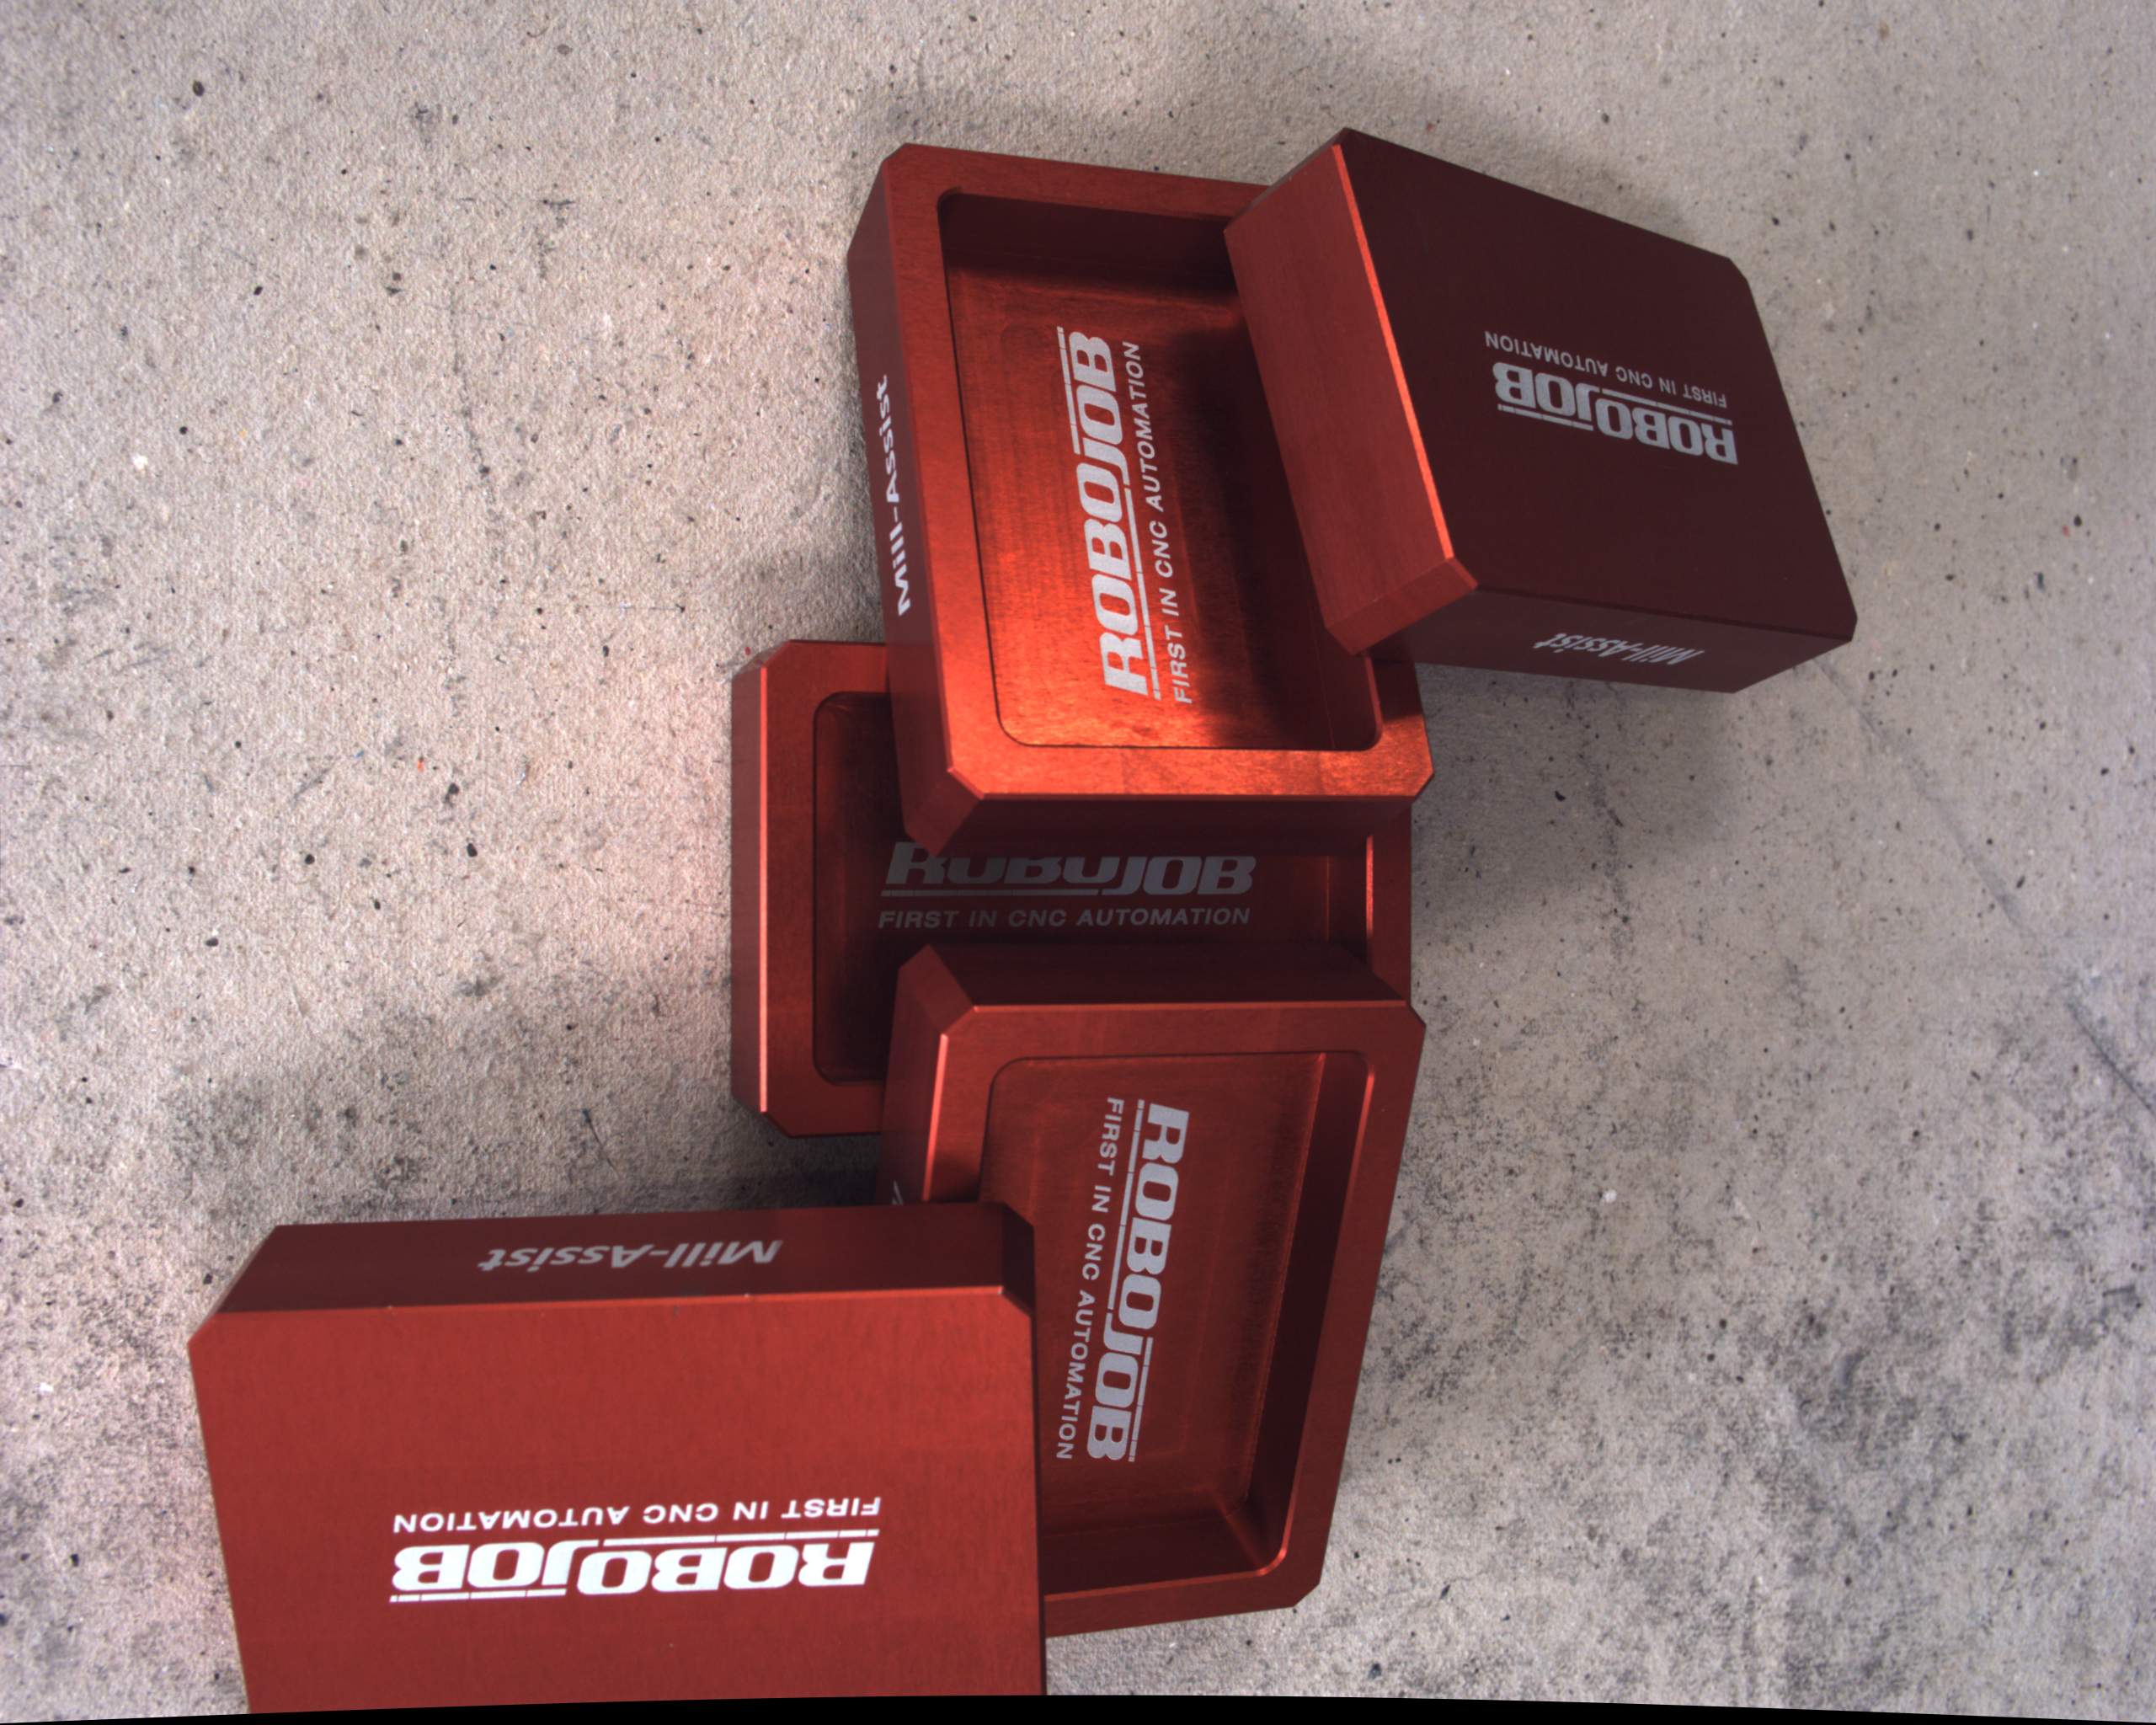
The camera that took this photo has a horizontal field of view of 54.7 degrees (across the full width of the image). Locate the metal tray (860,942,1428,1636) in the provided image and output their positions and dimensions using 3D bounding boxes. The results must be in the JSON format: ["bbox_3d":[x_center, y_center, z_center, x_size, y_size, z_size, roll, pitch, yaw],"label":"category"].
[{"bbox_3d":[0.008,0.080,0.389,0.091,0.030,0.129,1,109,-20],"label":"metal tray"}]

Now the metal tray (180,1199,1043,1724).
[{"bbox_3d":[-0.073,0.106,0.349,0.131,0.030,0.089,-2,108,-3],"label":"metal tray"}]

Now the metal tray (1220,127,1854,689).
[{"bbox_3d":[0.093,-0.084,0.408,0.131,0.030,0.090,0,71,-41],"label":"metal tray"}]

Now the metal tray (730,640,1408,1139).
[{"bbox_3d":[0.000,0.005,0.408,0.131,0.030,0.089,0,90,-20],"label":"metal tray"}]

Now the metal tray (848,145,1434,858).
[{"bbox_3d":[0.010,-0.067,0.389,0.091,0.030,0.129,0,70,-20],"label":"metal tray"}]
